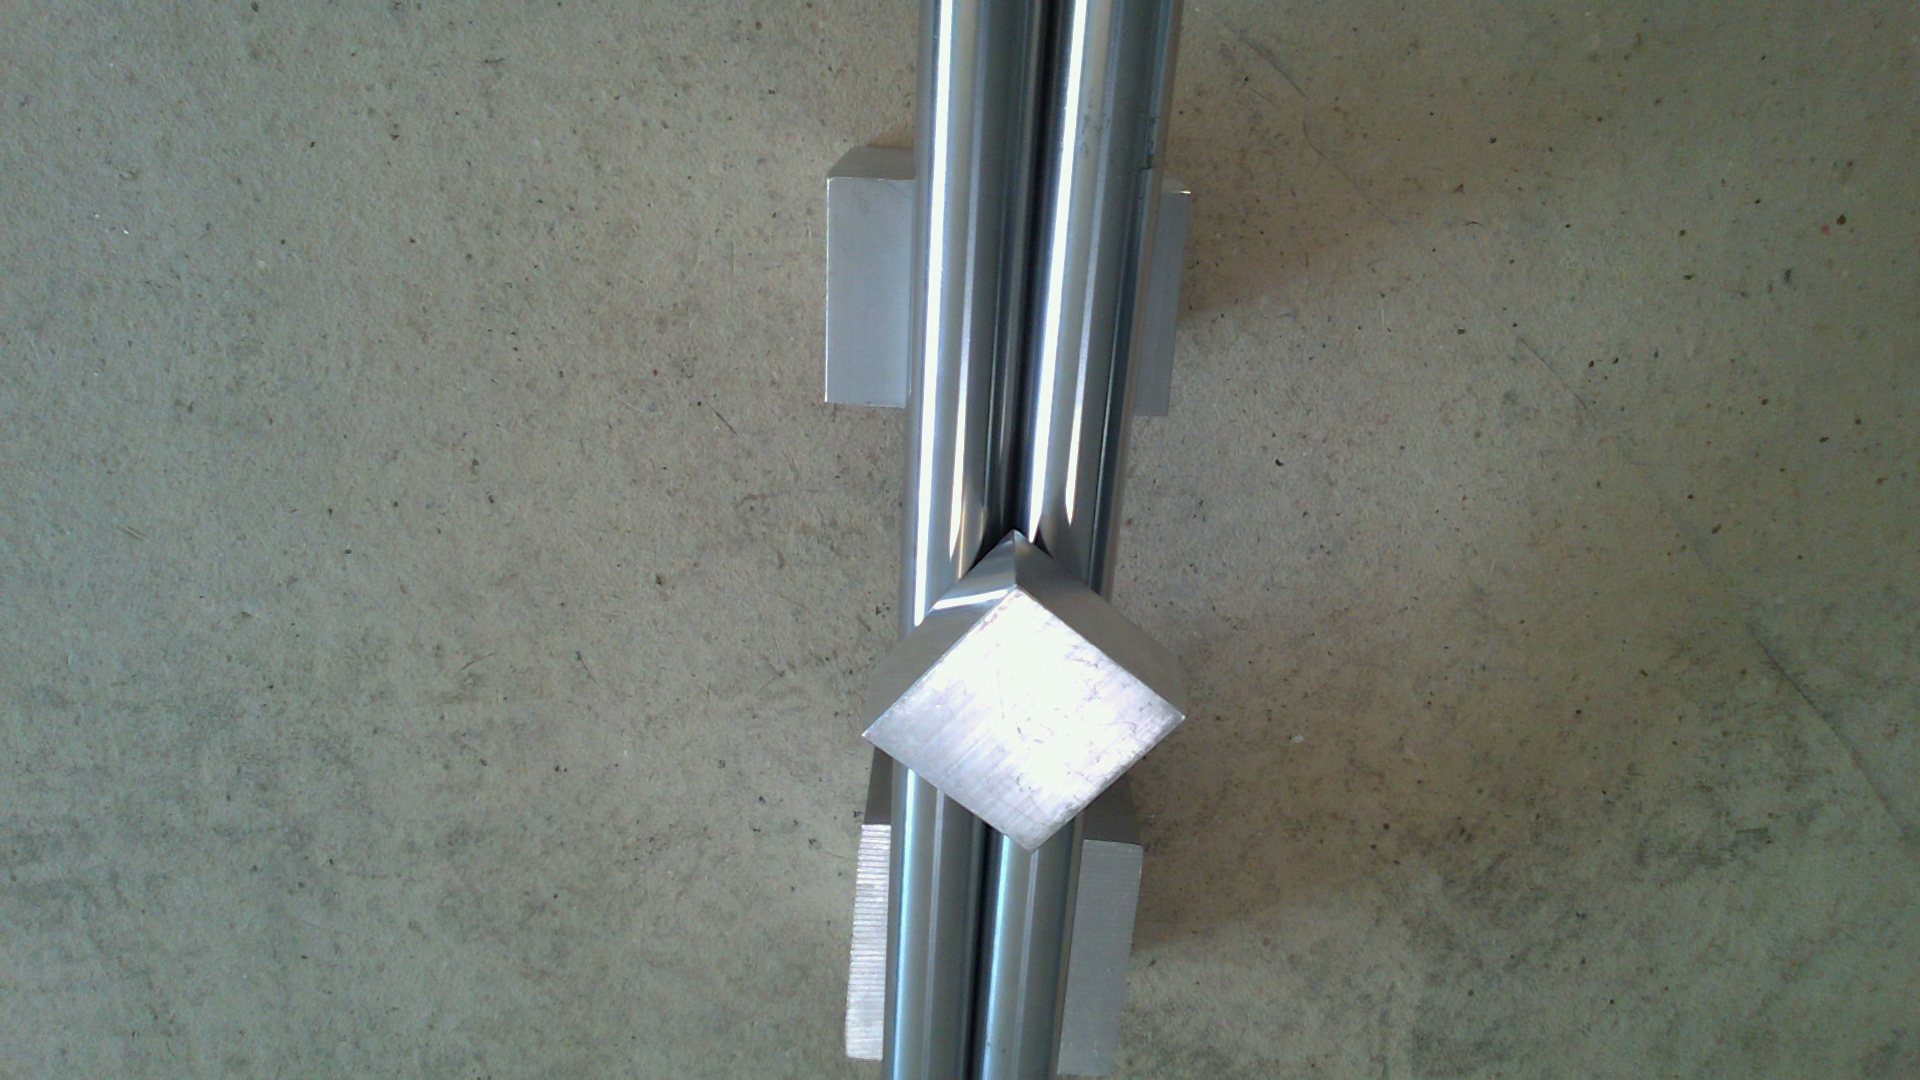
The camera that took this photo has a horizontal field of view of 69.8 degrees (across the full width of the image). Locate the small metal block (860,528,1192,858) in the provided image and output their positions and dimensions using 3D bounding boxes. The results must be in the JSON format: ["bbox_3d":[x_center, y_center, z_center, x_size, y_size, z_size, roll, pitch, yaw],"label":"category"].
[{"bbox_3d":[0.014,0.034,0.303,0.050,0.025,0.050,37,112,-18],"label":"small metal block"}]

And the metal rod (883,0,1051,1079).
[{"bbox_3d":[-0.003,0.025,0.325,0.025,0.025,0.300,3,117,-1],"label":"metal rod"}]

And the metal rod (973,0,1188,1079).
[{"bbox_3d":[0.023,0.026,0.326,0.025,0.025,0.300,3,117,-1],"label":"metal rod"}]

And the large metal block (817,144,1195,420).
[{"bbox_3d":[0.009,-0.067,0.340,0.080,0.080,0.050,3,110,-1],"label":"large metal block"}]

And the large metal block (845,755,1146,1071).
[{"bbox_3d":[0.009,0.110,0.421,0.080,0.050,0.080,4,110,-2],"label":"large metal block"}]
